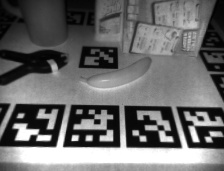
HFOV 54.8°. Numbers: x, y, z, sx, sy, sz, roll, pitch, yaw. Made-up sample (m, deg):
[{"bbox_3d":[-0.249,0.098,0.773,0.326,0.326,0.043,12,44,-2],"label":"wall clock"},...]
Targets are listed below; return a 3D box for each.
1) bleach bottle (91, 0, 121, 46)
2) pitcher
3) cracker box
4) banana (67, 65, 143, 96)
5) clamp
[{"bbox_3d":[-0.012,-0.232,0.586,0.102,0.252,0.068,6,43,5],"label":"bleach bottle"},{"bbox_3d":[-0.203,-0.242,0.558,0.190,0.243,0.132,-4,43,-11],"label":"pitcher"},{"bbox_3d":[0.128,-0.142,0.539,0.213,0.165,0.072,7,41,7],"label":"cracker box"},{"bbox_3d":[-0.002,-0.012,0.518,0.199,0.039,0.073,-17,46,-20],"label":"banana"},{"bbox_3d":[-0.216,-0.061,0.547,0.166,0.037,0.121,-3,42,-9],"label":"clamp"}]
